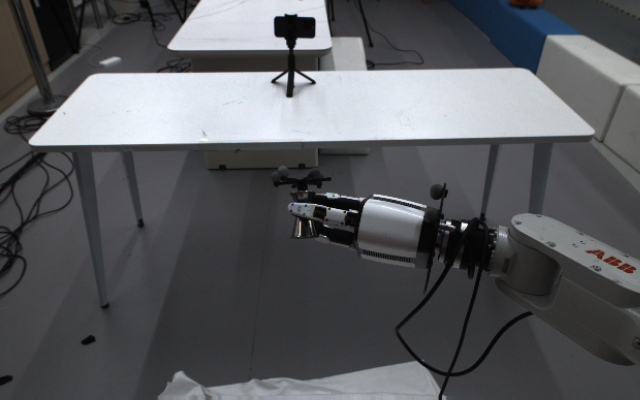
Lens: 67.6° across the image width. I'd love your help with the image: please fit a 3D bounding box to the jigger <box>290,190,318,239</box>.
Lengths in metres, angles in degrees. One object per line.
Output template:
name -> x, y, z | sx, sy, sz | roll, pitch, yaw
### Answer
jigger -> -0.025, 0.022, 0.718 | 0.043, 0.071, 0.043 | -2, -7, 0
